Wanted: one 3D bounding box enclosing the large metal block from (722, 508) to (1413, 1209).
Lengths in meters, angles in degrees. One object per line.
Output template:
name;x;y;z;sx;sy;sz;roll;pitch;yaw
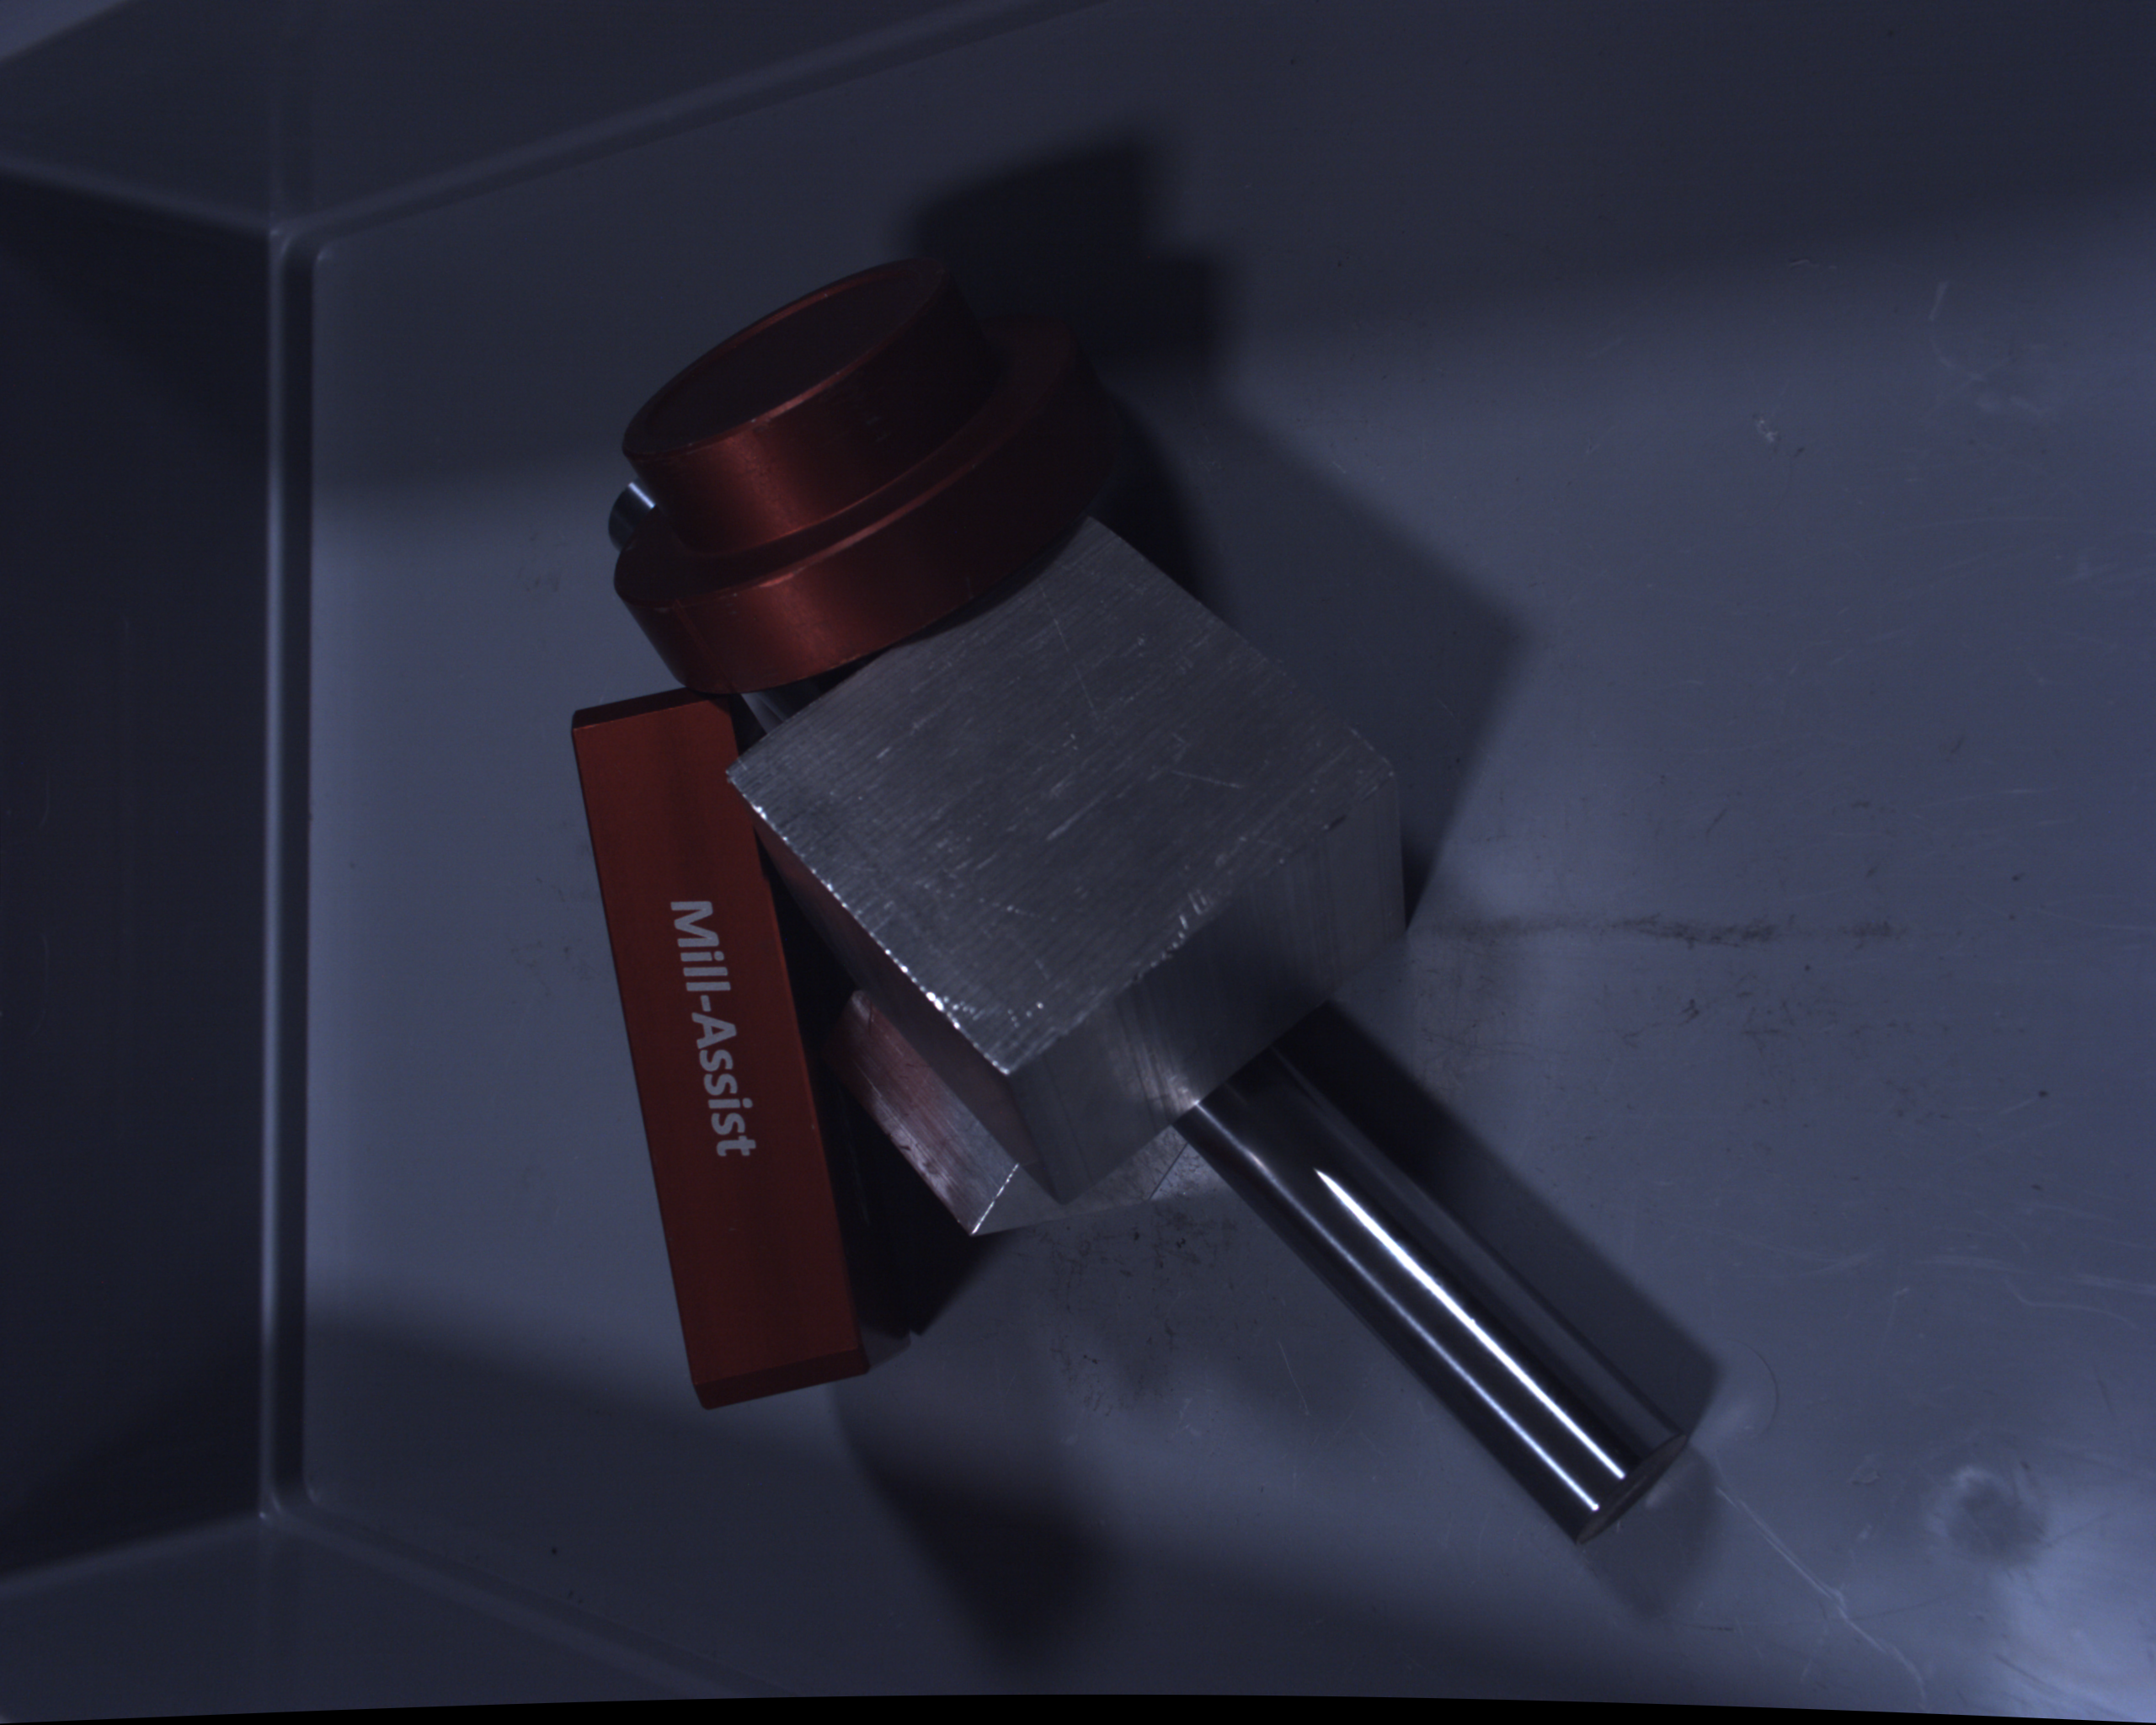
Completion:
large metal block;0.000;-0.002;0.361;0.080;0.050;0.080;-37;58;-14

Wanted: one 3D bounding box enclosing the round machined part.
round machined part;-0.045;-0.077;0.390;0.098;0.098;0.042;-2;129;39

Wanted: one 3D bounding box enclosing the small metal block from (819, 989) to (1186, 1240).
small metal block;-0.012;0.042;0.396;0.050;0.050;0.025;45;117;30

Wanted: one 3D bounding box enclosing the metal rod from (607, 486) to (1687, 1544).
metal rod;-0.005;0.009;0.407;0.300;0.025;0.025;44;116;30

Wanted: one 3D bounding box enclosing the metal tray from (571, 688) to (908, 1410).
metal tray;-0.065;0.038;0.416;0.030;0.090;0.129;-12;80;-2
